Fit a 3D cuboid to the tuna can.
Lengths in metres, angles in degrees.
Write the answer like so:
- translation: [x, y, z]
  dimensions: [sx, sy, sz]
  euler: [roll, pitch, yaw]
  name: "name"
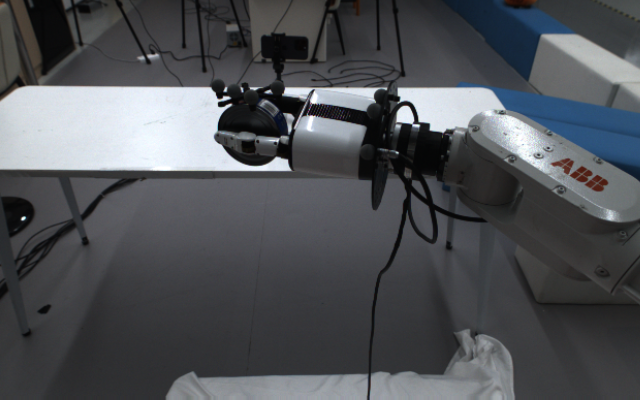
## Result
- translation: [-0.085, -0.090, 0.625]
  dimensions: [0.085, 0.085, 0.034]
  euler: [11, 34, 12]
  name: "tuna can"
